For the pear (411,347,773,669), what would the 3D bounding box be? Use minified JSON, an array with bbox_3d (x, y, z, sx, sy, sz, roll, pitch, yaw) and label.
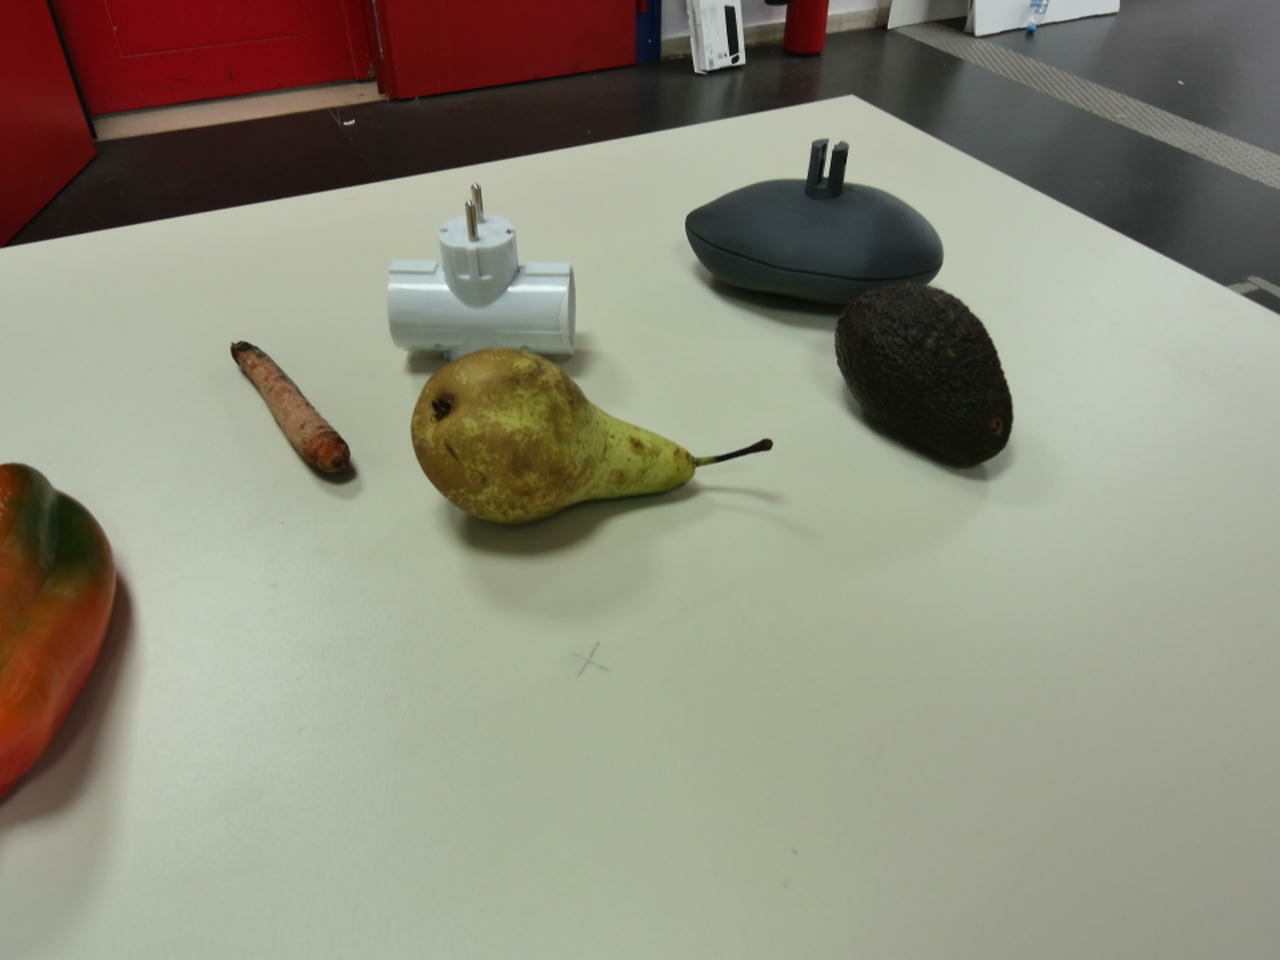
[{"bbox_3d":[-0.023,-0.025,0.422,0.144,0.075,0.071,-13,39,-16],"label":"pear"}]
